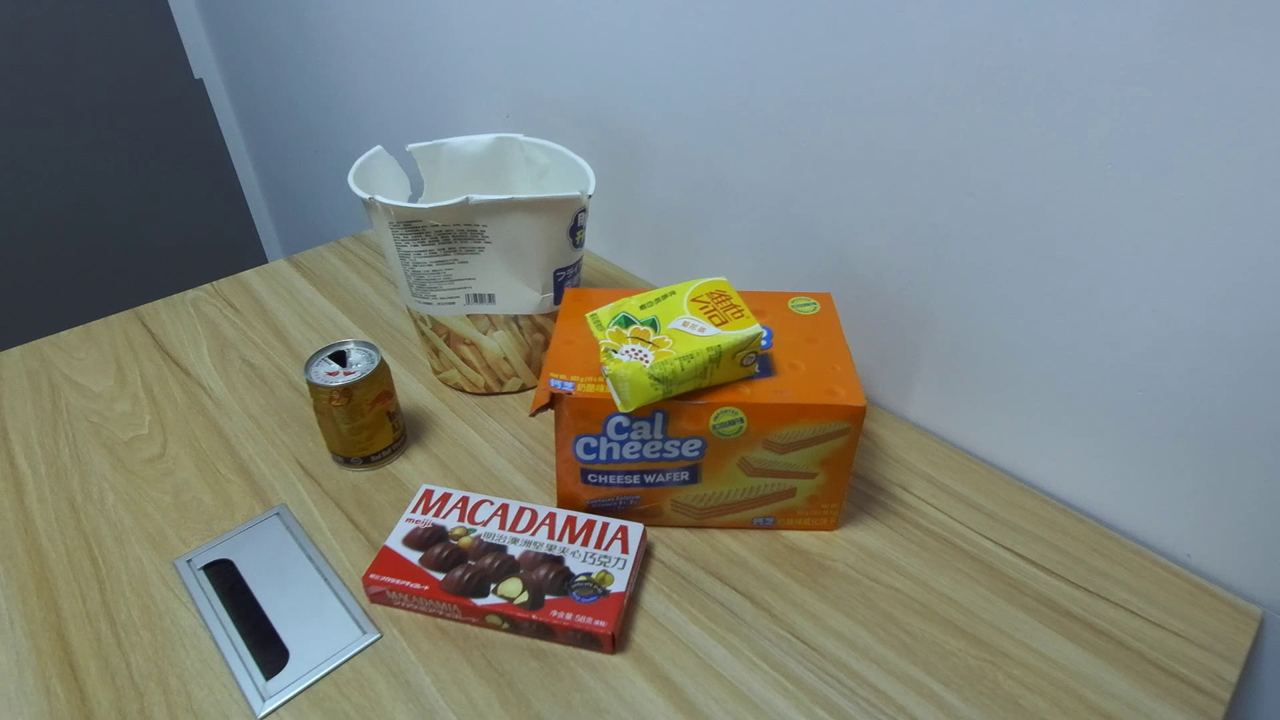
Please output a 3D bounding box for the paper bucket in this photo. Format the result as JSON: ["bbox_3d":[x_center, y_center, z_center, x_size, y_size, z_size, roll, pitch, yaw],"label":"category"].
[{"bbox_3d":[-0.144,-0.090,0.664,0.203,0.197,0.145,-6,37,-8],"label":"paper bucket"}]

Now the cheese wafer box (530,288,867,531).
[{"bbox_3d":[0.045,0.033,0.556,0.227,0.137,0.149,1,38,2],"label":"cheese wafer box"}]

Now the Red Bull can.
[{"bbox_3d":[-0.236,0.038,0.589,0.068,0.093,0.068,0,36,1],"label":"Red Bull can"}]

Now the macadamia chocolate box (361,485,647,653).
[{"bbox_3d":[-0.092,0.144,0.502,0.177,0.027,0.095,9,37,10],"label":"macadamia chocolate box"}]

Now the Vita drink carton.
[{"bbox_3d":[0.021,-0.011,0.480,0.108,0.042,0.086,-14,47,-13],"label":"Vita drink carton"}]
